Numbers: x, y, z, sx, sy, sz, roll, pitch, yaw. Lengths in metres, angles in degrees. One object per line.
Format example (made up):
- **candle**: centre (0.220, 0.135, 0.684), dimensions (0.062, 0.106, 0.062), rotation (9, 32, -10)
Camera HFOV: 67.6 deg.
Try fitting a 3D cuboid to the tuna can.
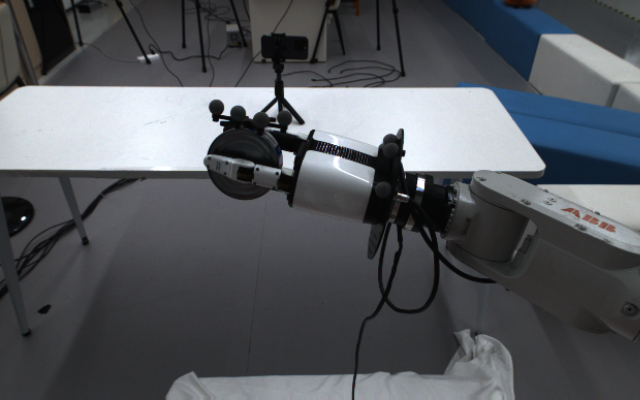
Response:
- **tuna can**: centre (-0.087, -0.046, 0.573), dimensions (0.085, 0.085, 0.034), rotation (5, 18, 4)
